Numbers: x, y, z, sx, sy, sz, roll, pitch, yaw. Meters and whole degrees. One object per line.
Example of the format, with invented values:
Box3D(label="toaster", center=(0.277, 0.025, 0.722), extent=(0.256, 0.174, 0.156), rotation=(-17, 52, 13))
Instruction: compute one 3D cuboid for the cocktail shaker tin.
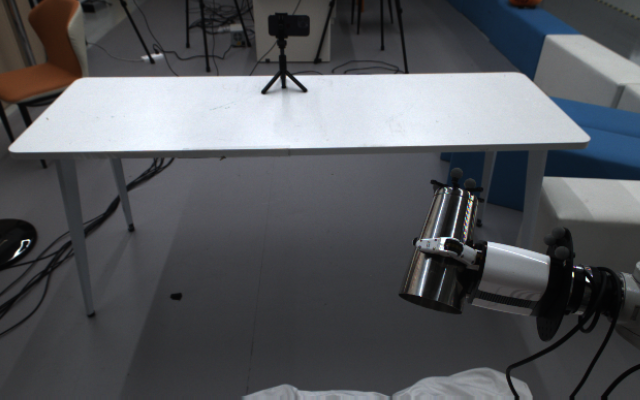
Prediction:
Box3D(label="cocktail shaker tin", center=(0.182, 0.071, 0.713), extent=(0.093, 0.093, 0.170), rotation=(14, 73, 16))
